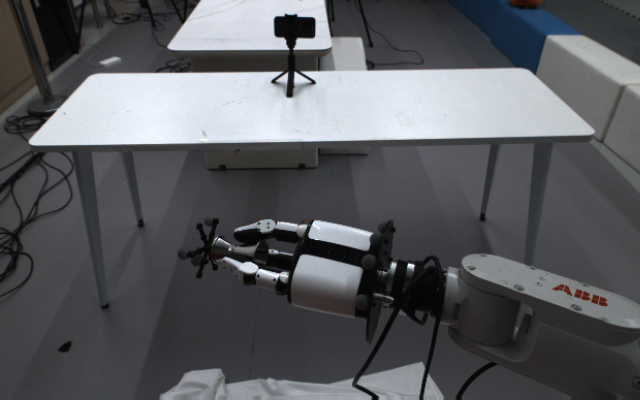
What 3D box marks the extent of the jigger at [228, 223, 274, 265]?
[{"bbox_3d":[-0.102,0.066,0.668,0.071,0.043,0.043,5,34,19],"label":"jigger"}]
